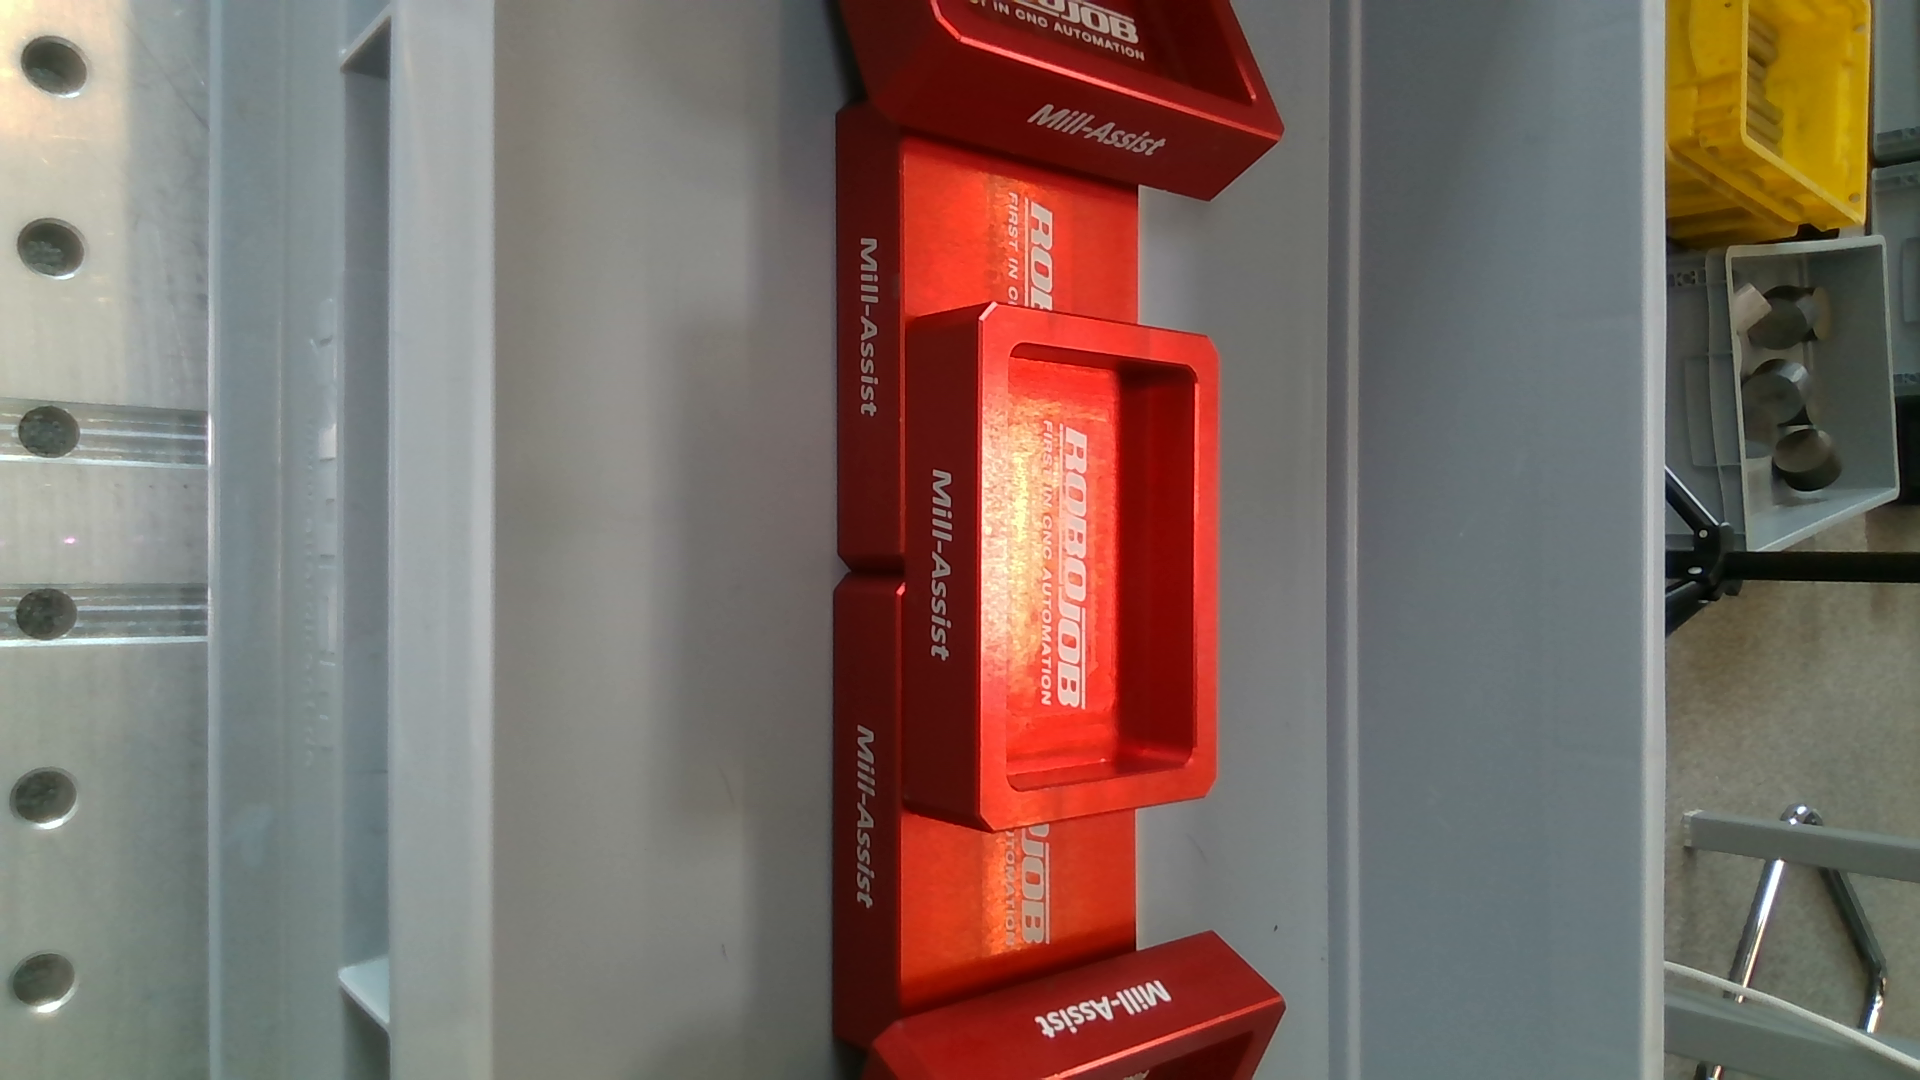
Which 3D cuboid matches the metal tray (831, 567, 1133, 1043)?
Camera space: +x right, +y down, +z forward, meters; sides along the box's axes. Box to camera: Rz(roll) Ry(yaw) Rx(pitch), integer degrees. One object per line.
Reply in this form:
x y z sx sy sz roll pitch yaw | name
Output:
0.008 0.073 0.395 0.090 0.030 0.130 0 90 -40 | metal tray

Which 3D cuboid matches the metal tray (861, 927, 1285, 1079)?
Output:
0.025 0.163 0.383 0.130 0.030 0.090 0 118 -40 | metal tray

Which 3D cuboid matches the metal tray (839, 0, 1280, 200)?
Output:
0.025 -0.150 0.384 0.130 0.030 0.090 1 64 -40 | metal tray

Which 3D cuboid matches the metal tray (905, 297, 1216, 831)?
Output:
0.029 0.006 0.372 0.090 0.030 0.130 1 89 -41 | metal tray

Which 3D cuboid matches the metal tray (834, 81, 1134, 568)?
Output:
0.009 -0.057 0.395 0.090 0.030 0.130 0 90 -40 | metal tray
